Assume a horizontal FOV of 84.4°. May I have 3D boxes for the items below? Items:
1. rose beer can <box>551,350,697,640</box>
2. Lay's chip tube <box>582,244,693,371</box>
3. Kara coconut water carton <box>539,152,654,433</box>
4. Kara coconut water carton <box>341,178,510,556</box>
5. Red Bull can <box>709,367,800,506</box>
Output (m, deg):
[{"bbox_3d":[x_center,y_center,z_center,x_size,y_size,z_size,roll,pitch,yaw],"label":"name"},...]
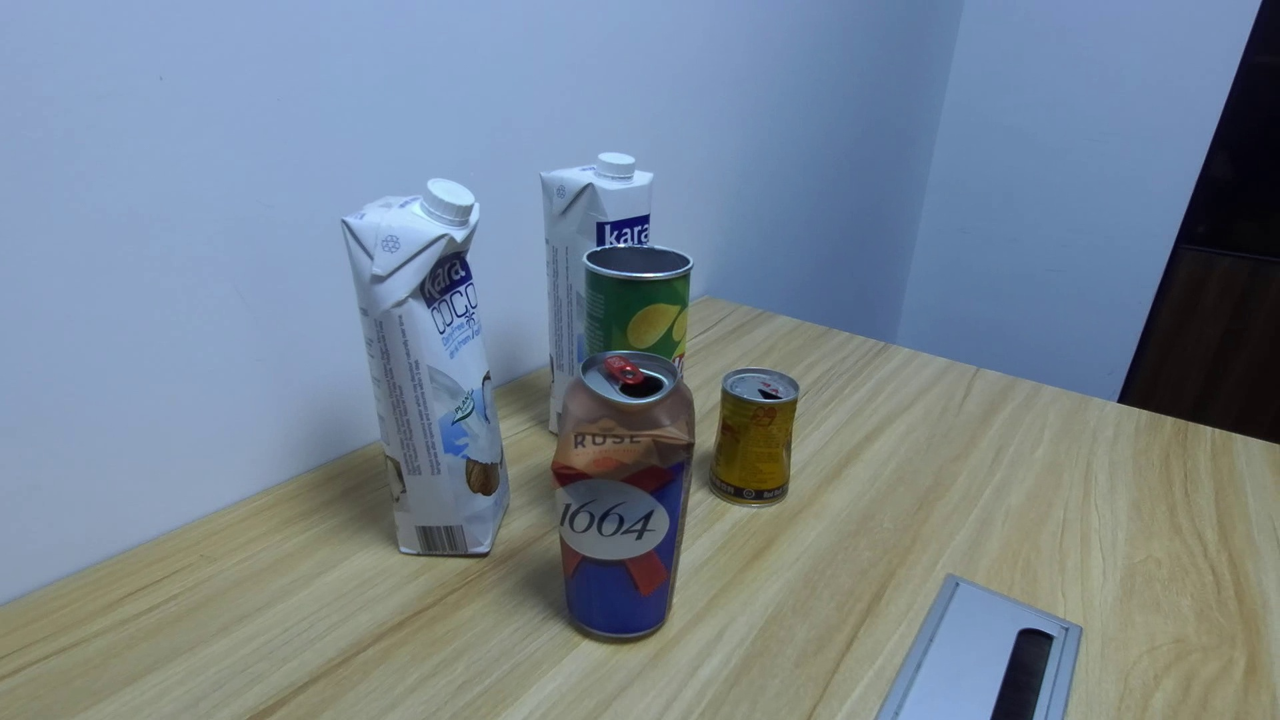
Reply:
[{"bbox_3d":[-0.010,0.081,0.407,0.075,0.167,0.065,13,28,14],"label":"rose beer can"},{"bbox_3d":[-0.005,0.027,0.478,0.071,0.202,0.071,3,24,-1],"label":"Lay's chip tube"},{"bbox_3d":[-0.035,-0.045,0.590,0.075,0.245,0.077,19,28,40],"label":"Kara coconut water carton"},{"bbox_3d":[-0.133,0.007,0.465,0.071,0.244,0.099,1,26,2],"label":"Kara coconut water carton"},{"bbox_3d":[0.090,0.060,0.554,0.069,0.092,0.069,2,23,0],"label":"Red Bull can"}]
